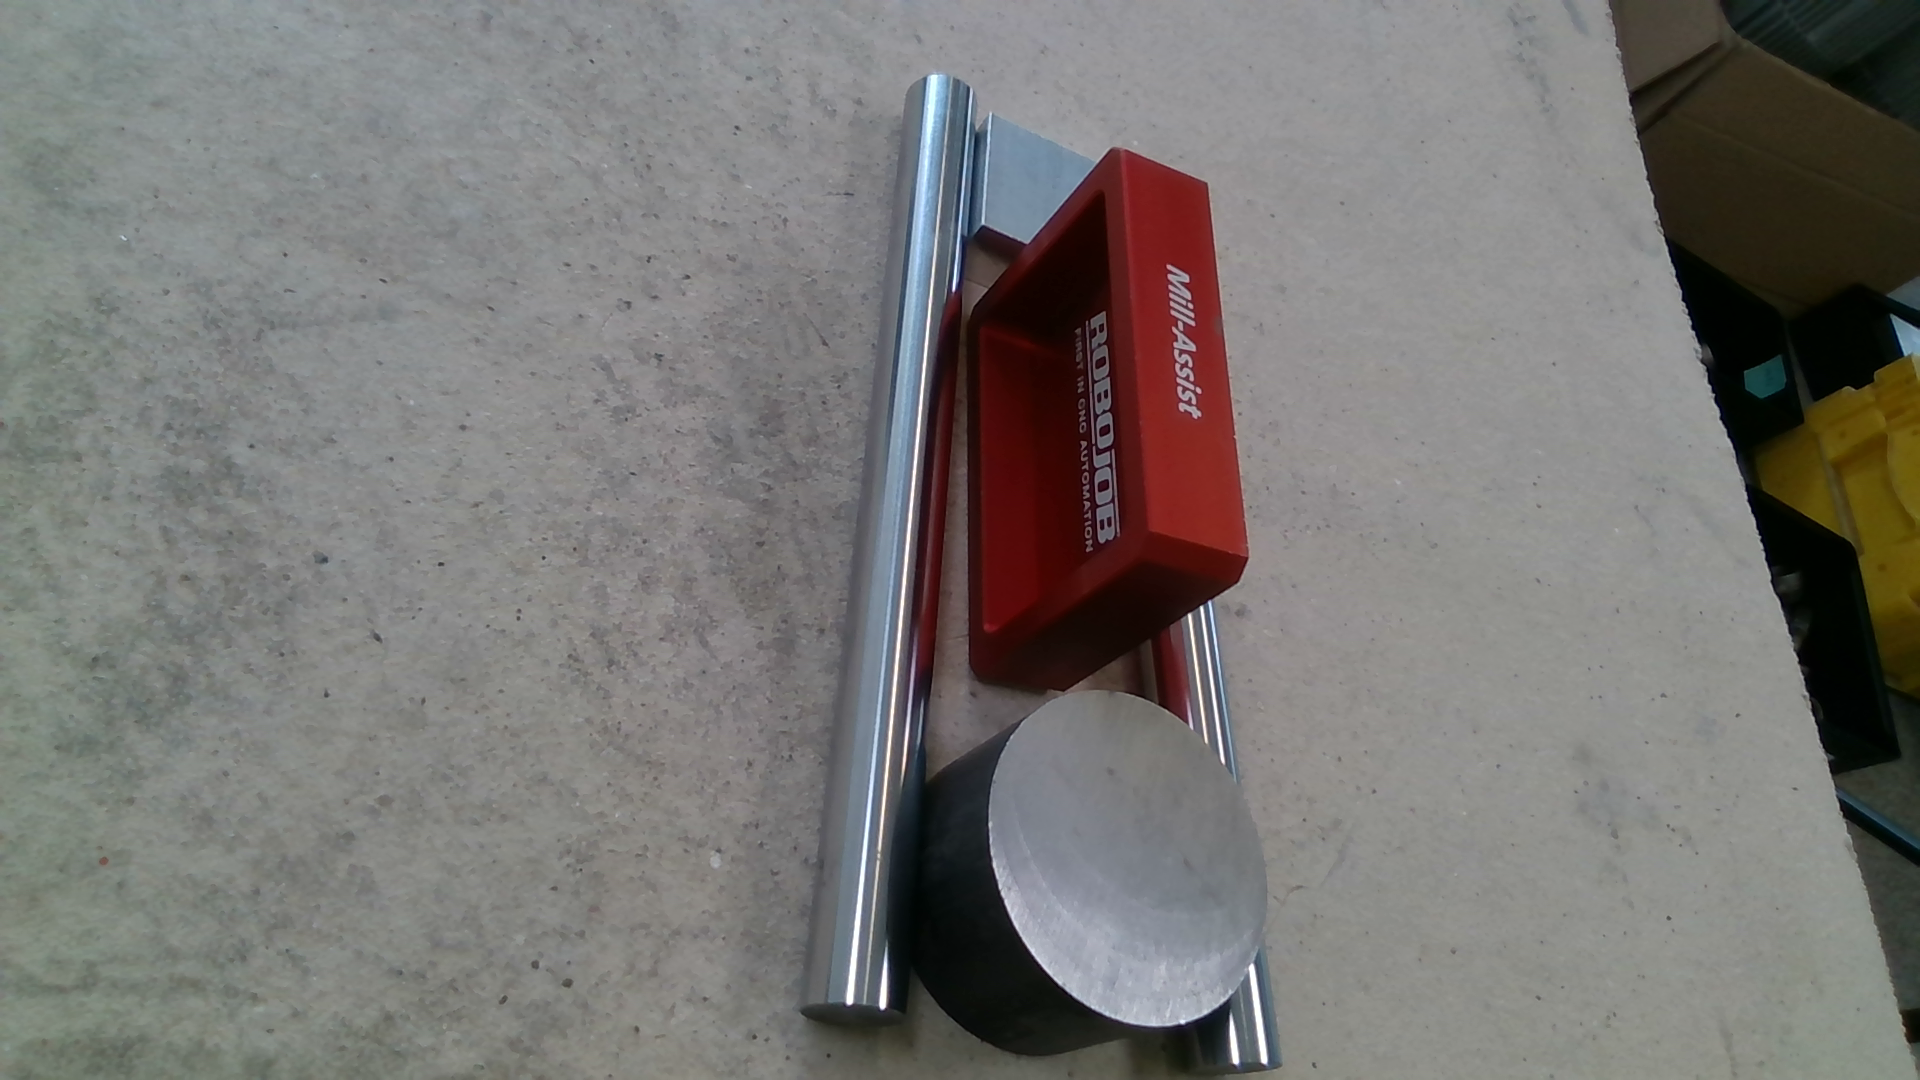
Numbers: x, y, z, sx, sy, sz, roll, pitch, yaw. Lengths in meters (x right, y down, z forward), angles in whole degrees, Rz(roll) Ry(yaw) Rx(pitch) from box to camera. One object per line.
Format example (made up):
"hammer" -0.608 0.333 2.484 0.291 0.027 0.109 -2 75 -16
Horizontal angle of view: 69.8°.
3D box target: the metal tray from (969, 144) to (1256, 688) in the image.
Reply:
"metal tray" 0.037 -0.034 0.391 0.030 0.090 0.130 14 58 -25

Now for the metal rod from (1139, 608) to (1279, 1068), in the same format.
"metal rod" 0.065 0.005 0.431 0.025 0.025 0.299 12 60 -26

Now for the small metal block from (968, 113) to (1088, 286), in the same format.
"small metal block" 0.024 -0.109 0.468 0.050 0.025 0.050 18 57 -23

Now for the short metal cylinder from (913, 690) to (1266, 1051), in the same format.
"short metal cylinder" 0.030 0.084 0.350 0.080 0.050 0.080 14 59 -25

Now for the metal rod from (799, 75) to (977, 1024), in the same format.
"metal rod" -0.016 -0.019 0.394 0.025 0.025 0.299 18 57 -23
